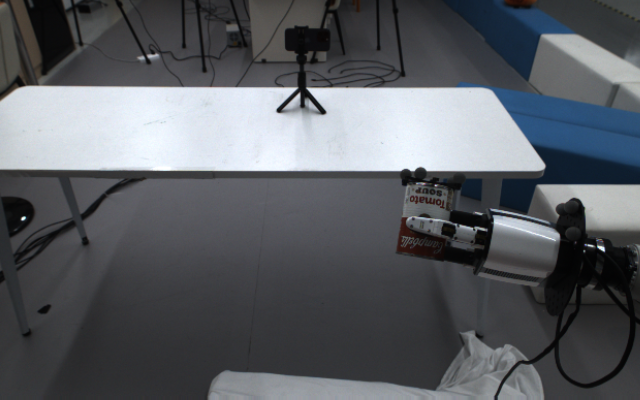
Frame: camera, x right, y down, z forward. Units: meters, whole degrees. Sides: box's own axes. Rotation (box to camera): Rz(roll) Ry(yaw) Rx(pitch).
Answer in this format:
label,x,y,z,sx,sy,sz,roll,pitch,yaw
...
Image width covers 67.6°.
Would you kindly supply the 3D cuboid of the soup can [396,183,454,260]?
label,x,y,z,sx,sy,sz,roll,pitch,yaw
soup can,0.149,0.029,0.683,0.067,0.101,0.067,9,-5,1
